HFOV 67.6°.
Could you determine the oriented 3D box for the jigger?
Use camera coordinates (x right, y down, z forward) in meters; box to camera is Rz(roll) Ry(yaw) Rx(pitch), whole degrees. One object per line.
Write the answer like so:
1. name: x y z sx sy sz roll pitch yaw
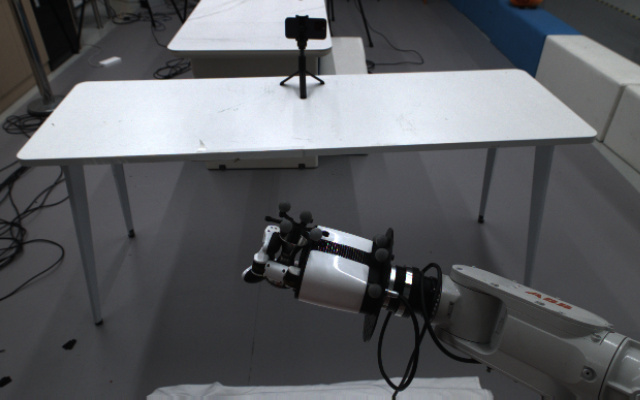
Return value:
1. jigger: -0.045 0.082 0.664 0.043 0.071 0.043 18 17 -6
